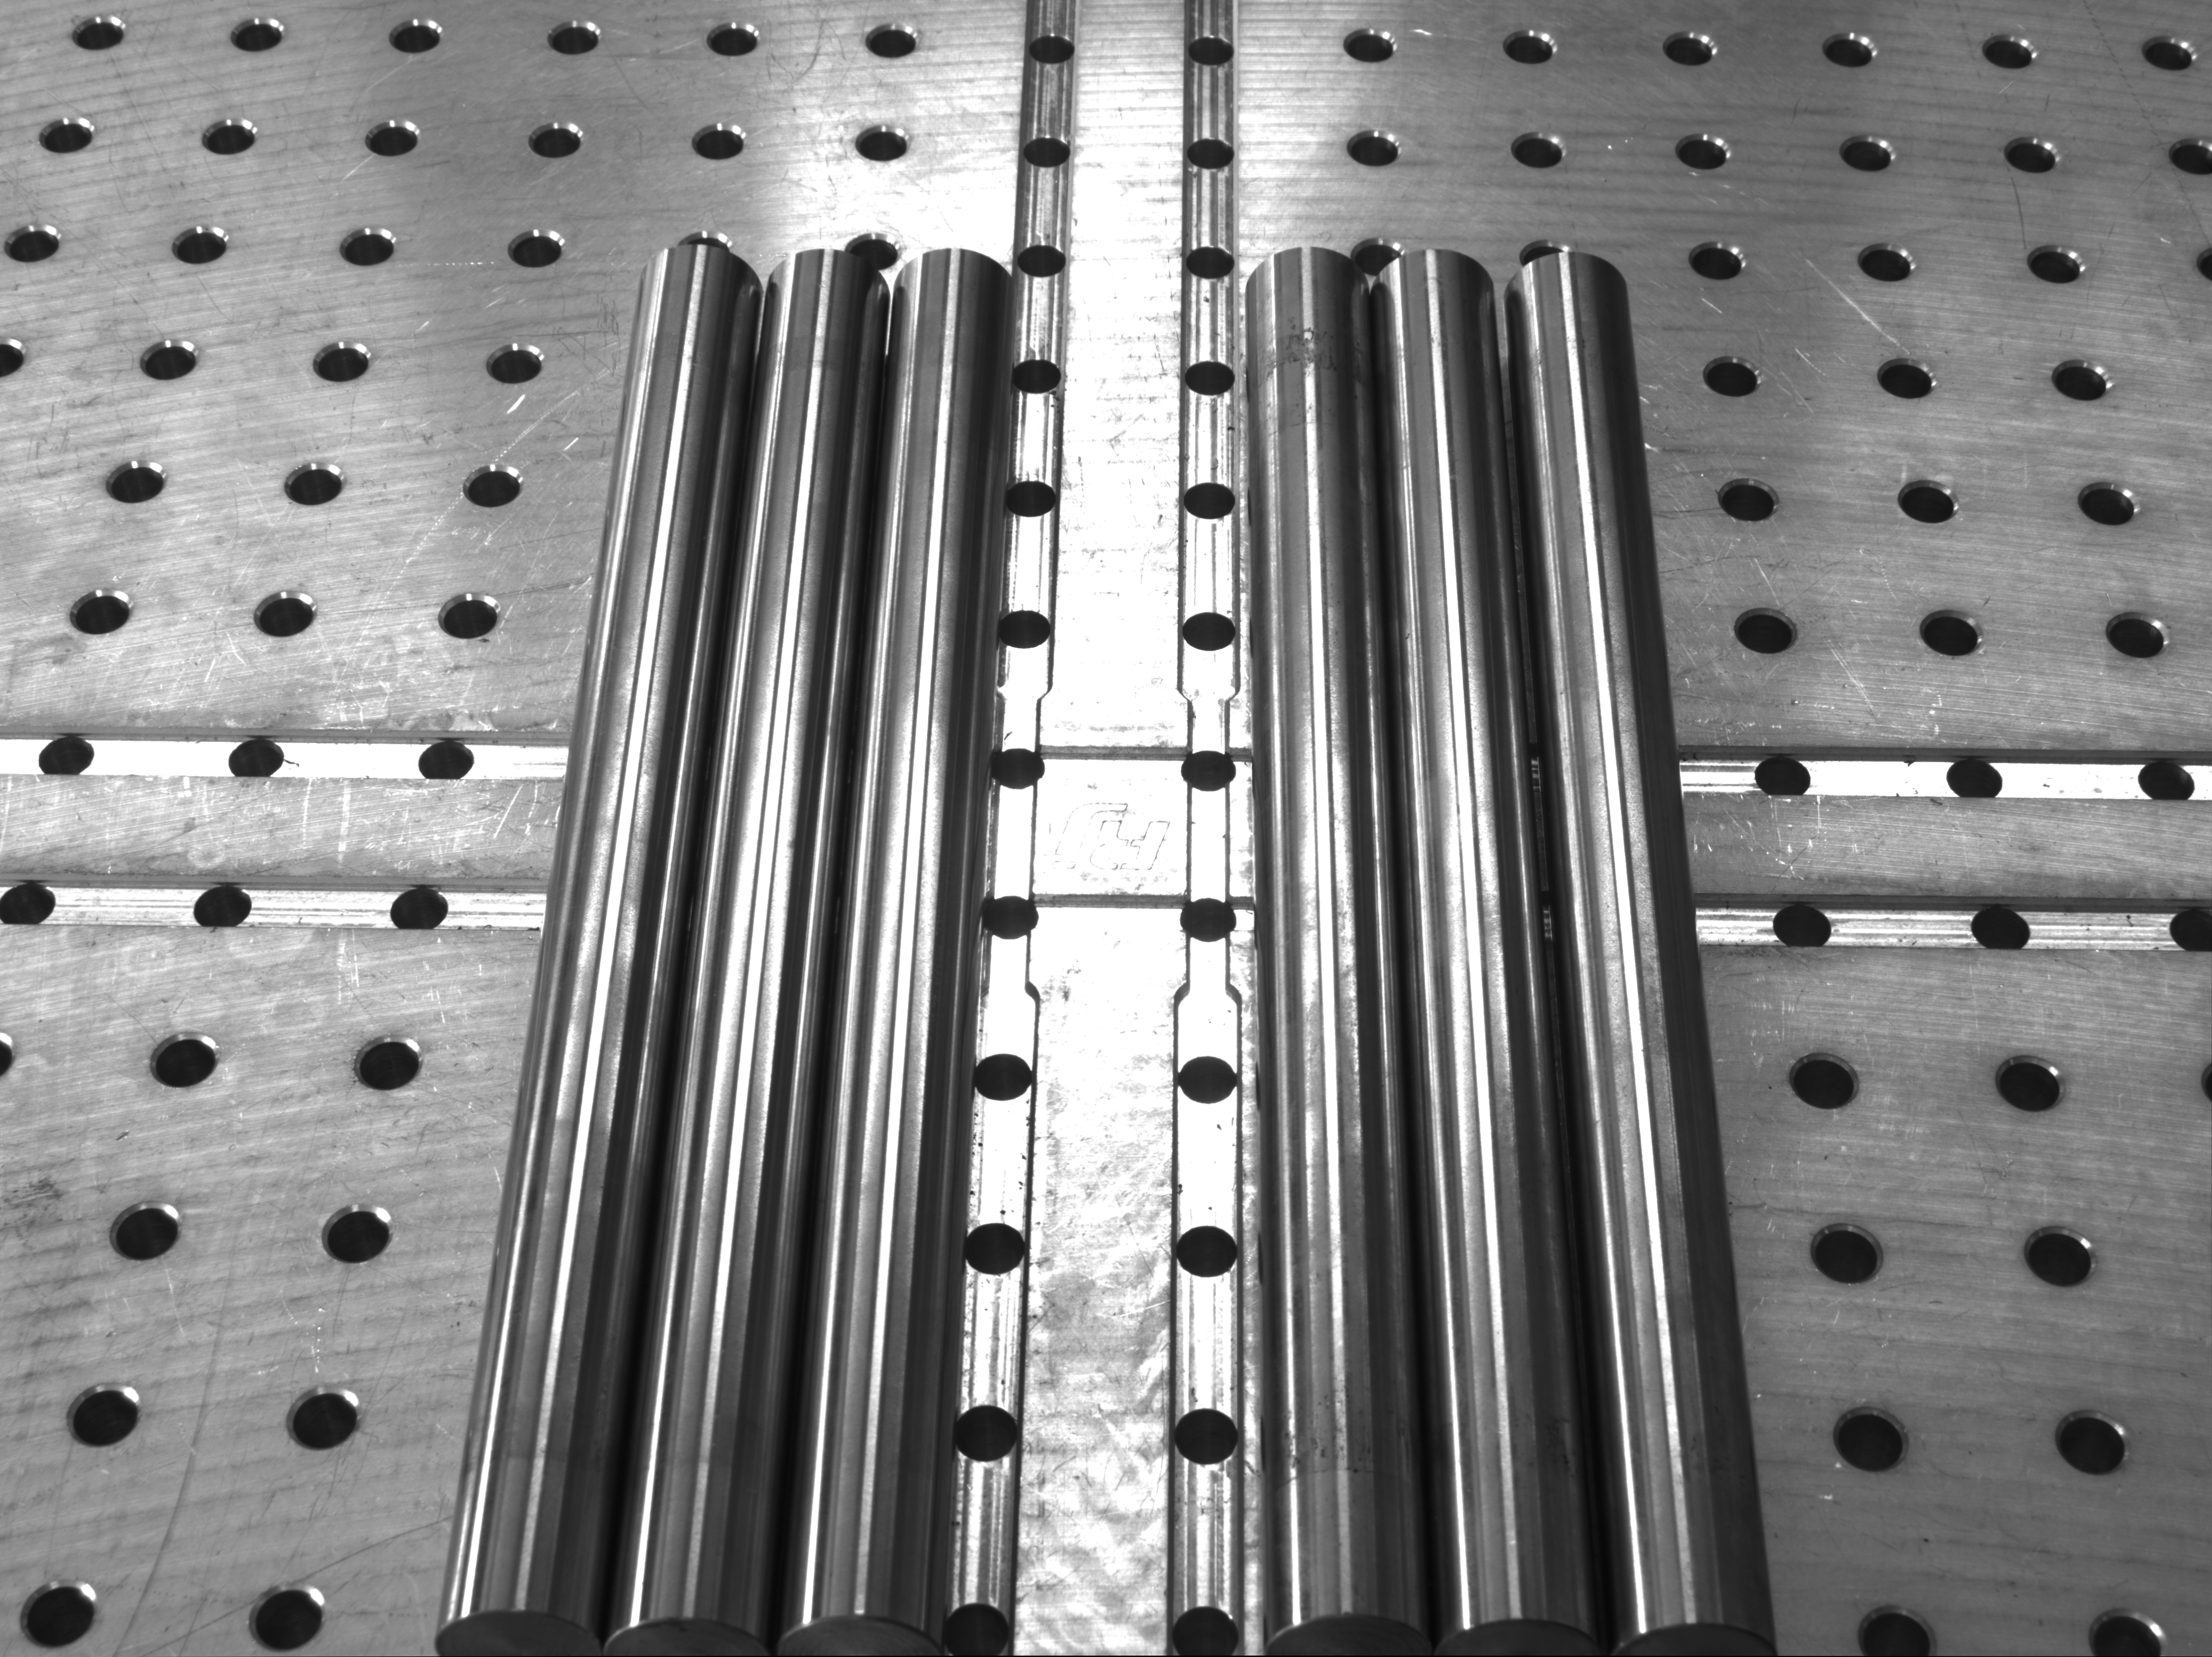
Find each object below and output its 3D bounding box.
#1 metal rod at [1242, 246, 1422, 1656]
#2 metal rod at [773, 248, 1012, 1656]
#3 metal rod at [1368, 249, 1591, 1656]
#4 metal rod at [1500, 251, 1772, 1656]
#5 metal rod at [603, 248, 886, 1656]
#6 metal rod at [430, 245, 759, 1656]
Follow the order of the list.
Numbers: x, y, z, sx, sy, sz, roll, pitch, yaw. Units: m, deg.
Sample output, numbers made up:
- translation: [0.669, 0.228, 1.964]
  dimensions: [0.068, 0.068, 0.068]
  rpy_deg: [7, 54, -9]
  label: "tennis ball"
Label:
- translation: [0.037, 0.008, 0.639]
  dimensions: [0.025, 0.025, 0.300]
  rpy_deg: [1, 50, 1]
  label: "metal rod"
- translation: [-0.034, 0.008, 0.638]
  dimensions: [0.025, 0.025, 0.300]
  rpy_deg: [1, 50, 1]
  label: "metal rod"
- translation: [0.062, 0.008, 0.638]
  dimensions: [0.025, 0.025, 0.300]
  rpy_deg: [1, 50, 1]
  label: "metal rod"
- translation: [0.088, 0.009, 0.638]
  dimensions: [0.025, 0.025, 0.300]
  rpy_deg: [1, 50, 1]
  label: "metal rod"
- translation: [-0.059, 0.008, 0.638]
  dimensions: [0.025, 0.025, 0.300]
  rpy_deg: [1, 50, 1]
  label: "metal rod"
- translation: [-0.085, 0.007, 0.639]
  dimensions: [0.025, 0.025, 0.300]
  rpy_deg: [1, 50, 1]
  label: "metal rod"
